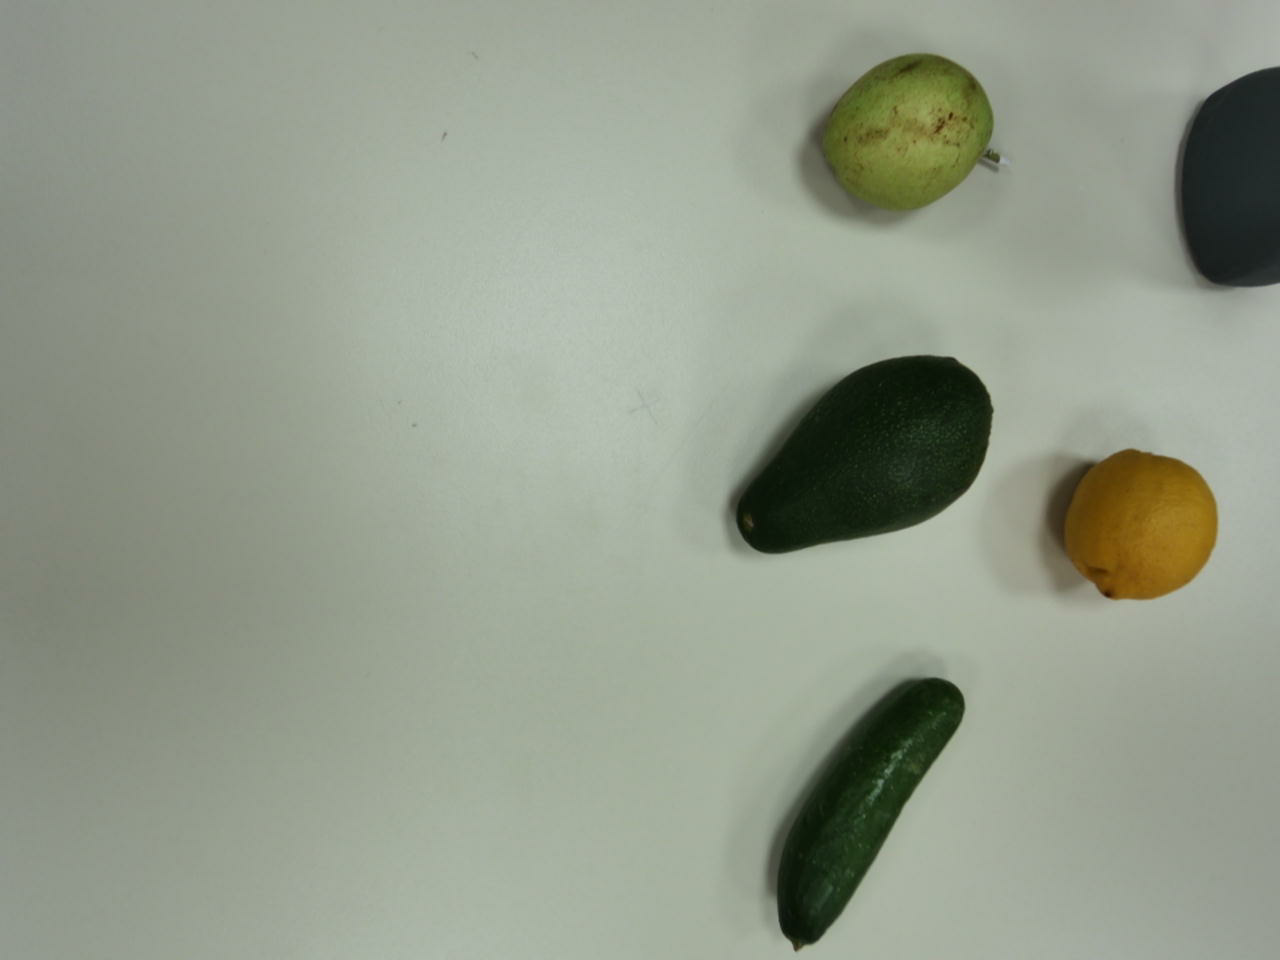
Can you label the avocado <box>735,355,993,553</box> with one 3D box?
[{"bbox_3d":[0.095,-0.012,0.423,0.109,0.071,0.072,-13,92,-11],"label":"avocado"}]
